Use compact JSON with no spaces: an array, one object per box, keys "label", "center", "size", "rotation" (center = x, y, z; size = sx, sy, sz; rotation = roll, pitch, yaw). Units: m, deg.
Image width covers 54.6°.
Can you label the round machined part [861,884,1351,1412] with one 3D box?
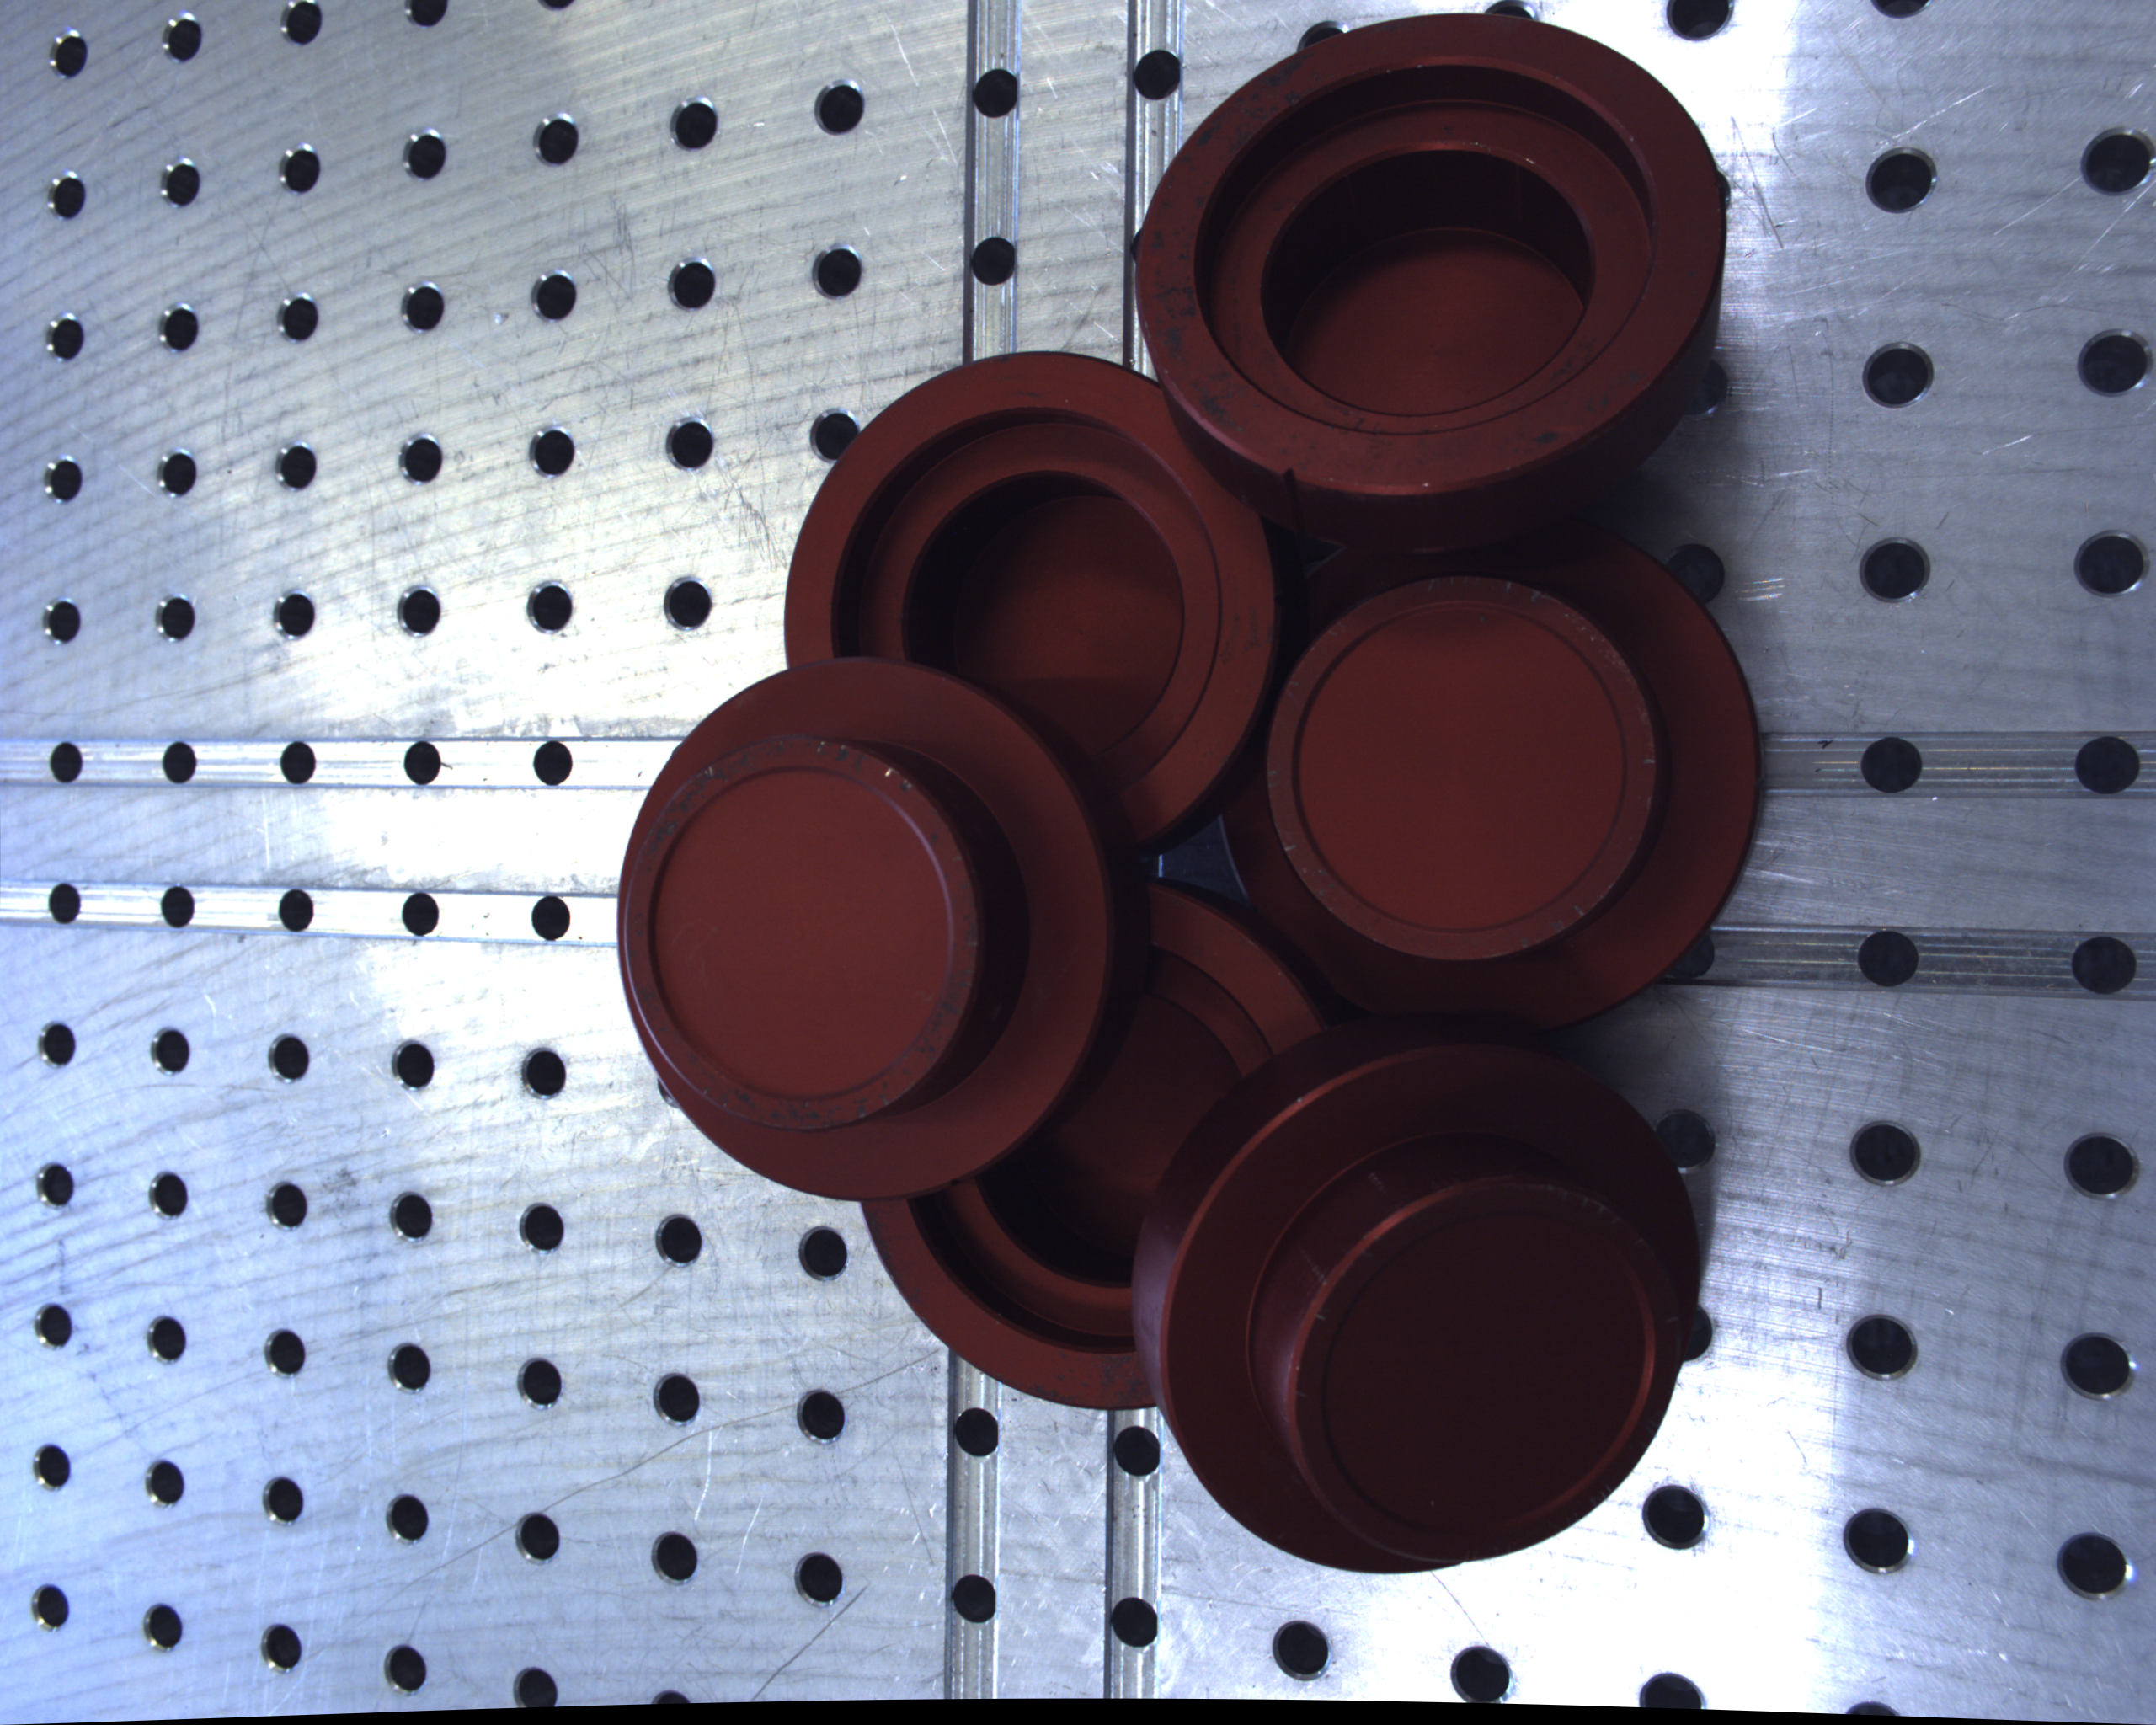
[{"label":"round machined part","center":[0.010,0.051,0.400],"size":[0.098,0.042,0.097],"rotation":[0,90,20]}]

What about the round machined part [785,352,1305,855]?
[{"label":"round machined part","center":[-0.004,-0.046,0.405],"size":[0.098,0.042,0.097],"rotation":[0,90,20]}]

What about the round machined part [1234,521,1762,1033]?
[{"label":"round machined part","center":[0.072,-0.016,0.378],"size":[0.098,0.042,0.097],"rotation":[0,90,20]}]

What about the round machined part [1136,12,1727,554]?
[{"label":"round machined part","center":[0.062,-0.097,0.370],"size":[0.098,0.042,0.098],"rotation":[-4,68,11]}]

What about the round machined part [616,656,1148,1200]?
[{"label":"round machined part","center":[-0.041,0.012,0.373],"size":[0.098,0.042,0.097],"rotation":[0,90,20]}]

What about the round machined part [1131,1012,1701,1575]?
[{"label":"round machined part","center":[0.062,0.078,0.356],"size":[0.099,0.042,0.097],"rotation":[-3,103,-12]}]

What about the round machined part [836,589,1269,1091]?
[{"label":"round machined part","center":[-0.010,-0.002,0.407],"size":[0.098,0.042,0.097],"rotation":[0,90,20]}]
